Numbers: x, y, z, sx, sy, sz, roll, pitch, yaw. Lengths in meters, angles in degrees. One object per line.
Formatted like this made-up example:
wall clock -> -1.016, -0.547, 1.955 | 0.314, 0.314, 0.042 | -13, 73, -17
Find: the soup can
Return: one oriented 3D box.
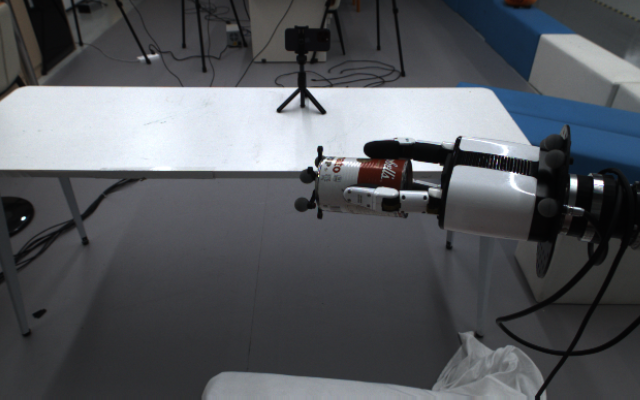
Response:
soup can -> 0.055, -0.017, 0.568 | 0.101, 0.067, 0.067 | 4, 34, 18
